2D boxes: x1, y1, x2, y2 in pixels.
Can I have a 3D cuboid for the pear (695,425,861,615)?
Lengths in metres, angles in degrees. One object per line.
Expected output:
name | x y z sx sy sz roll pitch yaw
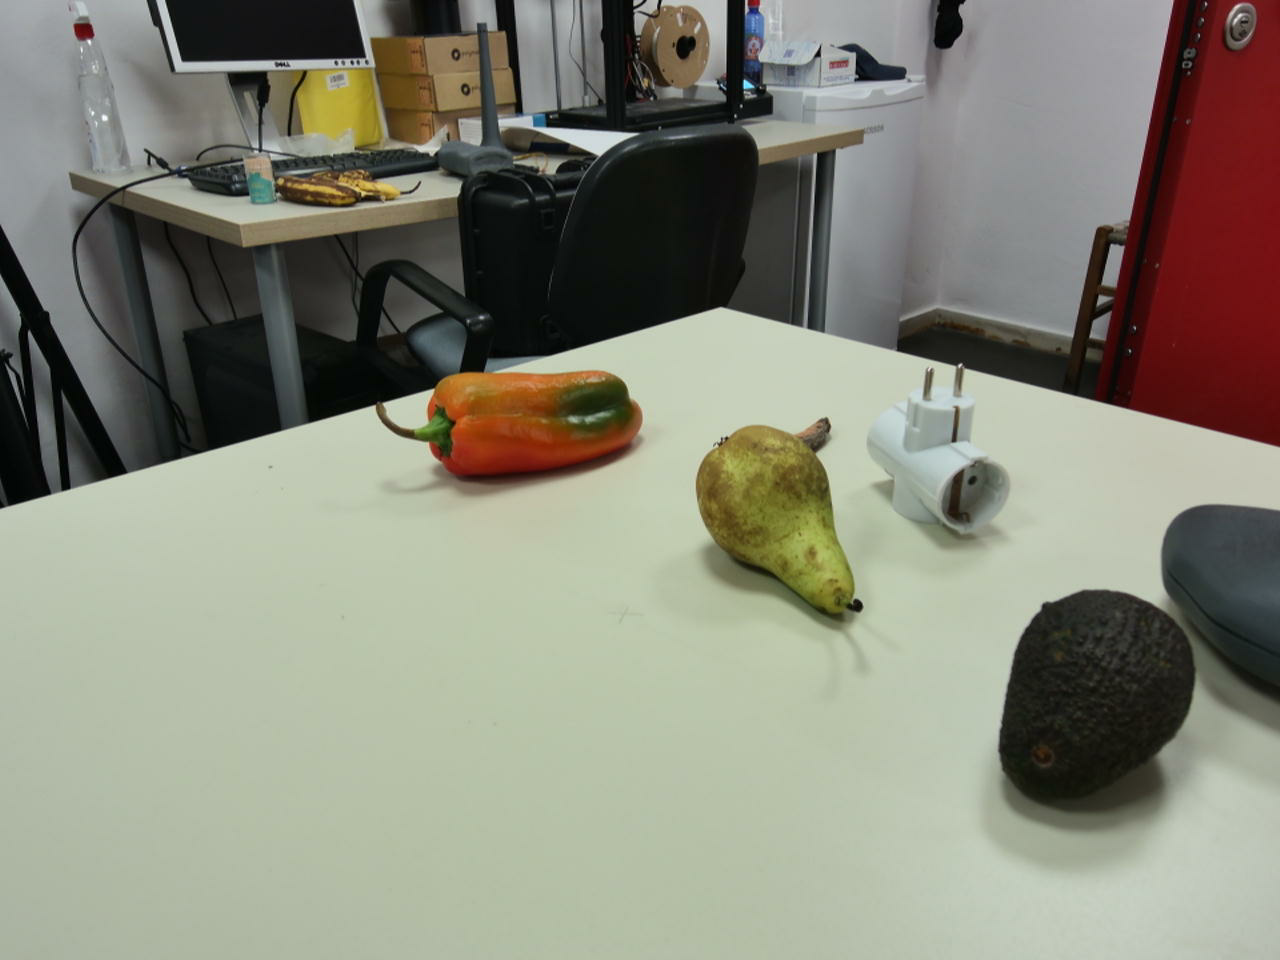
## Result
pear | 0.086 0.019 0.519 0.071 0.075 0.144 -16 28 -31
